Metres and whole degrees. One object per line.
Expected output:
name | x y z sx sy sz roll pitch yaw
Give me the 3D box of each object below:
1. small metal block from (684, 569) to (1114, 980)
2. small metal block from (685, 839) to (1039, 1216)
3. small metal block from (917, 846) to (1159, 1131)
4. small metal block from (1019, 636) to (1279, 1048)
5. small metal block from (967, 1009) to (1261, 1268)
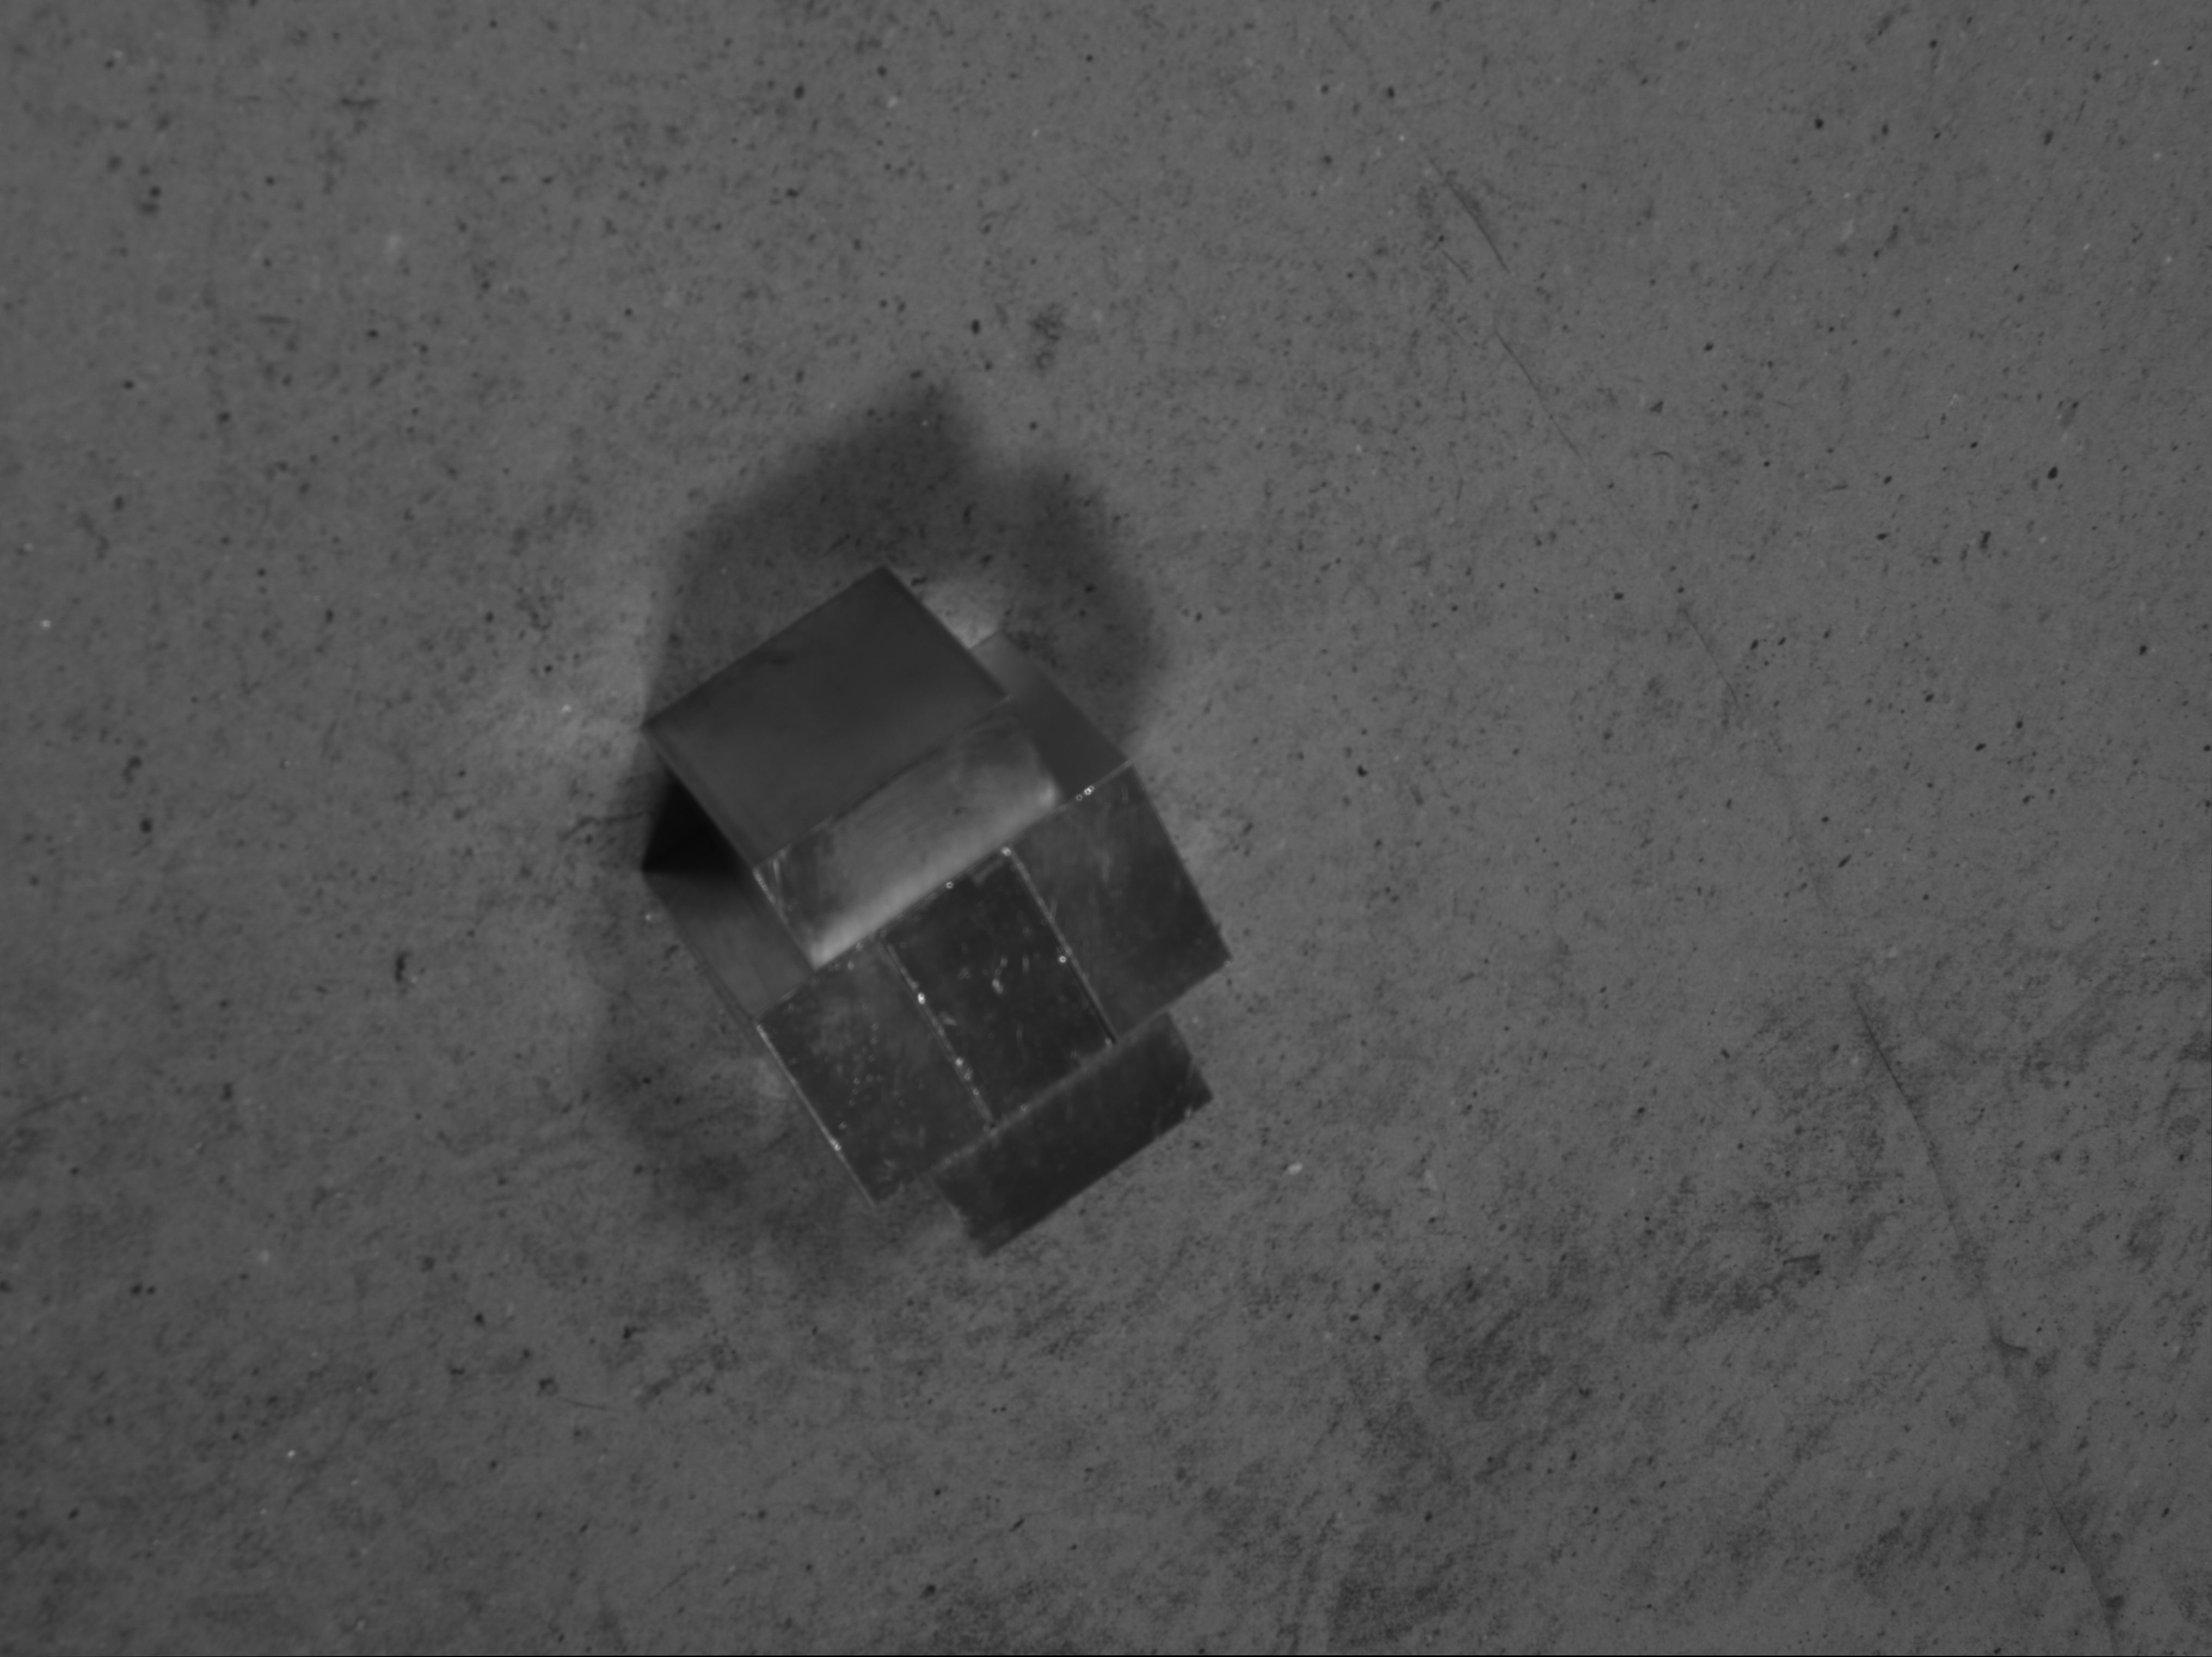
small metal block | -0.035 -0.010 0.608 0.050 0.050 0.025 -34 130 -8
small metal block | -0.042 0.030 0.628 0.025 0.050 0.050 -35 130 -7
small metal block | -0.021 0.016 0.631 0.025 0.050 0.050 -35 130 -7
small metal block | -0.001 0.002 0.635 0.025 0.050 0.050 -35 130 -7
small metal block | -0.009 0.043 0.655 0.050 0.050 0.025 -34 130 -8
